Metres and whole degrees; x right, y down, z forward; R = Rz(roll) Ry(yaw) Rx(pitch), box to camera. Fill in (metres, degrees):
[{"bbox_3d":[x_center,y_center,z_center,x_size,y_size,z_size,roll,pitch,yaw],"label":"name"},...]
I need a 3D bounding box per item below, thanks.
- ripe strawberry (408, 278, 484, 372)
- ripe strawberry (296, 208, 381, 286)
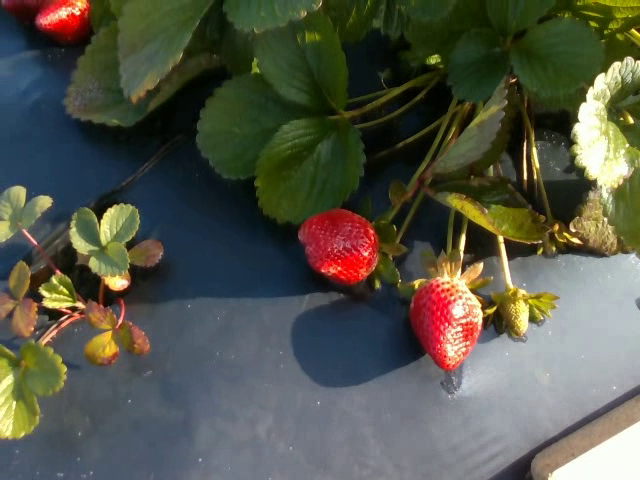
[{"bbox_3d":[0.065,0.043,0.314,0.043,0.053,0.039,20,-44,-10],"label":"ripe strawberry"},{"bbox_3d":[0.012,0.004,0.339,0.054,0.048,0.039,-8,1,-34],"label":"ripe strawberry"}]
